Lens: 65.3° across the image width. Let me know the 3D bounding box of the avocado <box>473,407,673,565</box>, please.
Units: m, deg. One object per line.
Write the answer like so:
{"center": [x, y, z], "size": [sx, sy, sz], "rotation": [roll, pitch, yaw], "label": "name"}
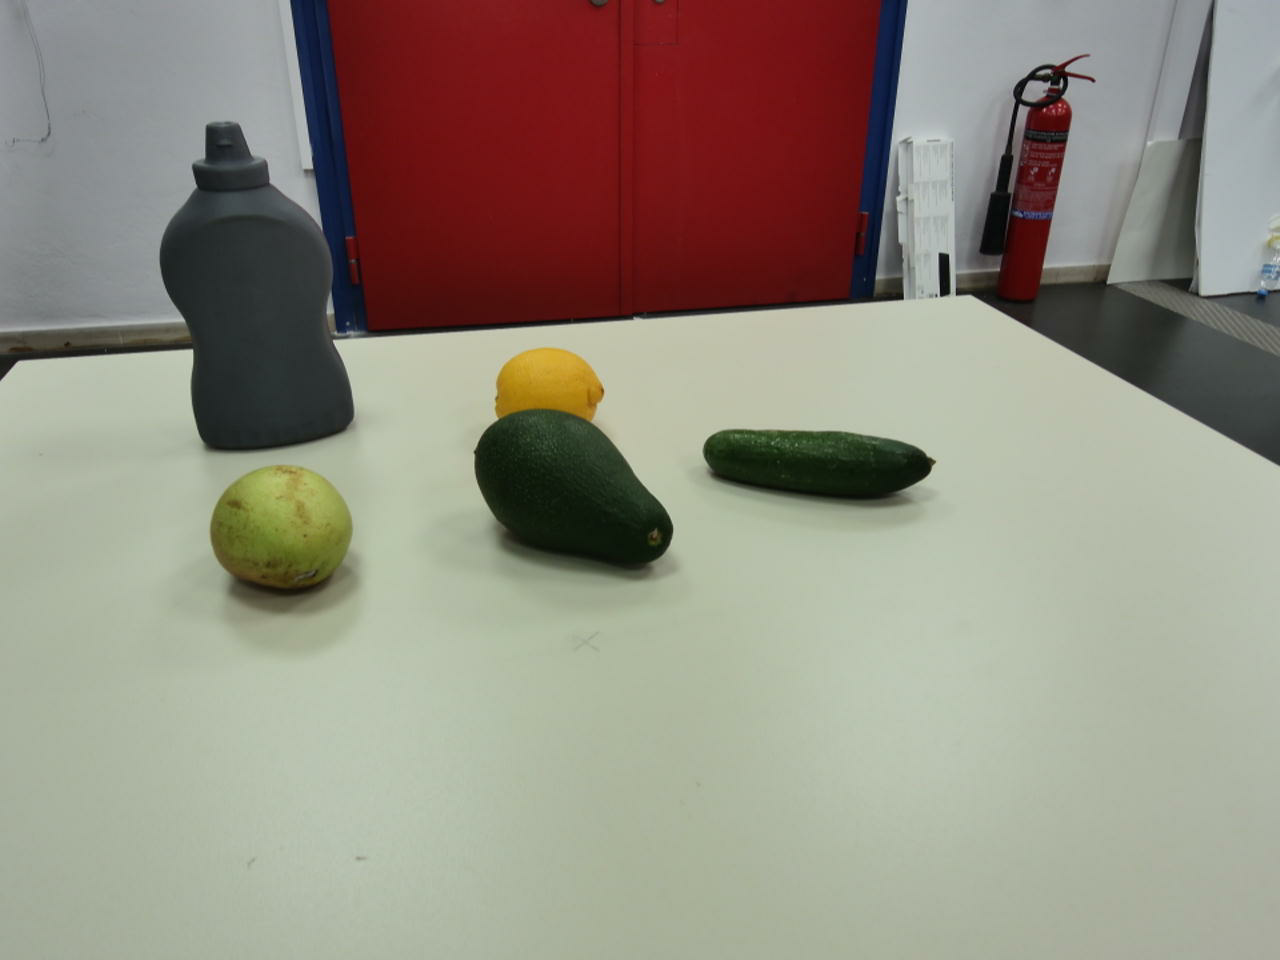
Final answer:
{"center": [-0.038, 0.003, 0.513], "size": [0.072, 0.071, 0.109], "rotation": [-18, 31, -32], "label": "avocado"}
